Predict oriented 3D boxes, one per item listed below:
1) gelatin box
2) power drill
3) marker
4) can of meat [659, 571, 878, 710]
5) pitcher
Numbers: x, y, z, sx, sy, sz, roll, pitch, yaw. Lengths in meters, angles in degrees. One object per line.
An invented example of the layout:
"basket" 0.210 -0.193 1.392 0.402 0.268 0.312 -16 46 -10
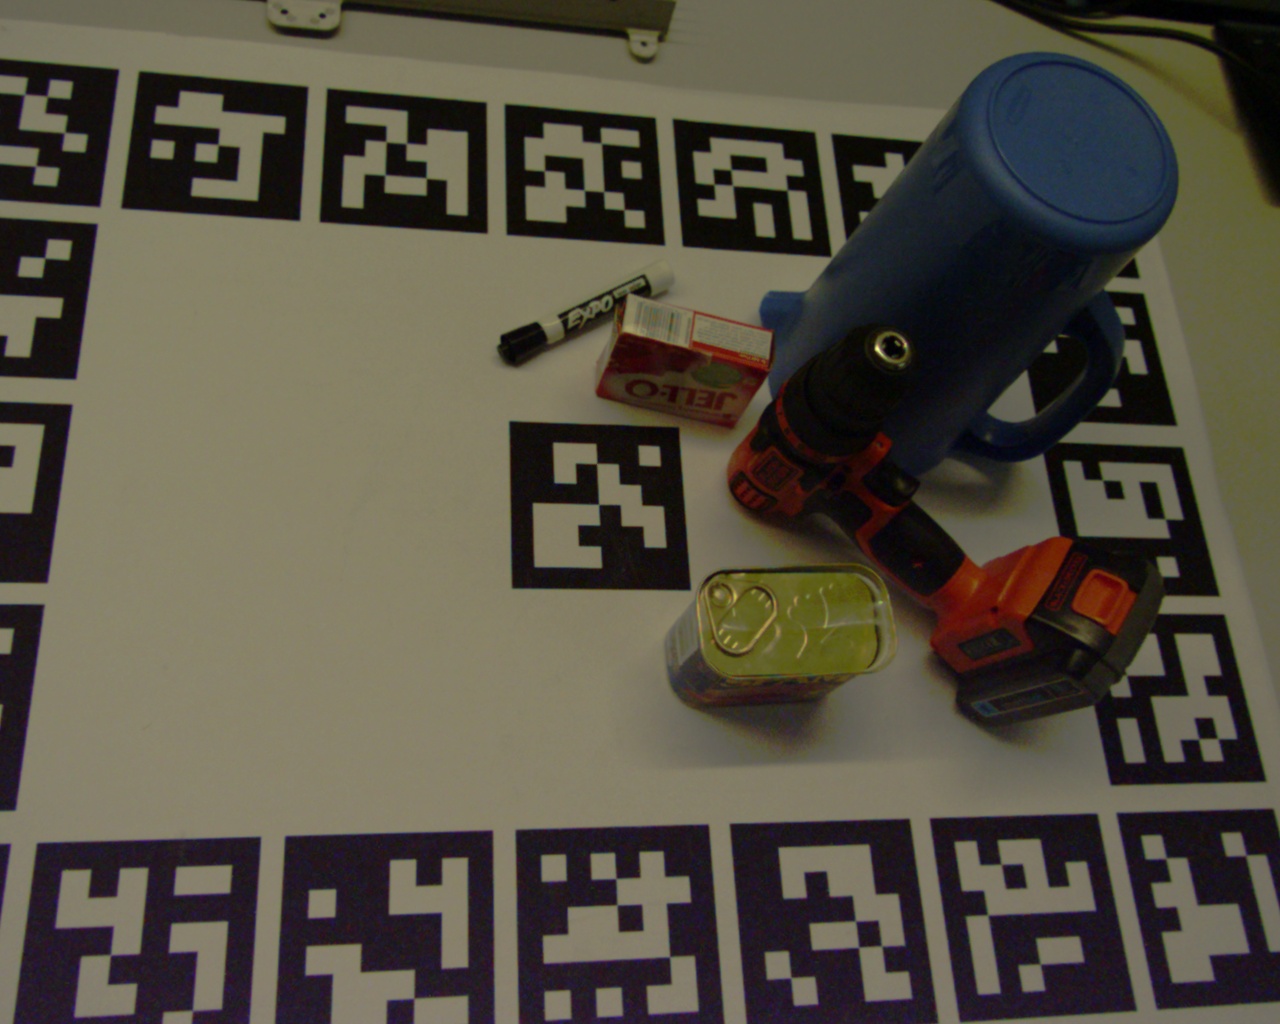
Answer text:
"gelatin box" 0.024 -0.077 0.688 0.089 0.073 0.030 11 72 -10
"power drill" 0.137 -0.003 0.623 0.186 0.185 0.057 35 69 -4
"marker" -0.038 -0.120 0.718 0.120 0.020 0.020 -27 78 -18
"can of meat" 0.066 0.073 0.631 0.101 0.084 0.058 -1 69 -13
"pitcher" 0.181 -0.108 0.647 0.189 0.242 0.133 28 70 6
